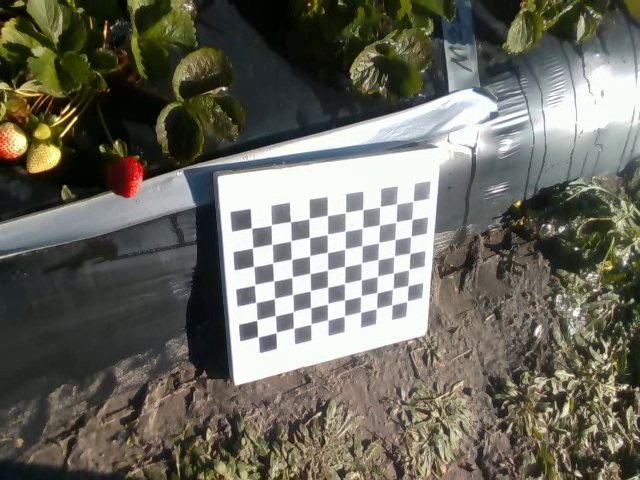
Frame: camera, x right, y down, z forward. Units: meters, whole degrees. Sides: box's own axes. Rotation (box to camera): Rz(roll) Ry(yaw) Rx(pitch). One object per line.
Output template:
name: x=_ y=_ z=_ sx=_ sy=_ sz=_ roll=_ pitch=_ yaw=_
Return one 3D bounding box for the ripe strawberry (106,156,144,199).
ripe strawberry: x=-0.160 y=-0.048 z=0.505 sx=0.036 sy=0.038 sz=0.046 roll=-11 pitch=39 yaw=-19
